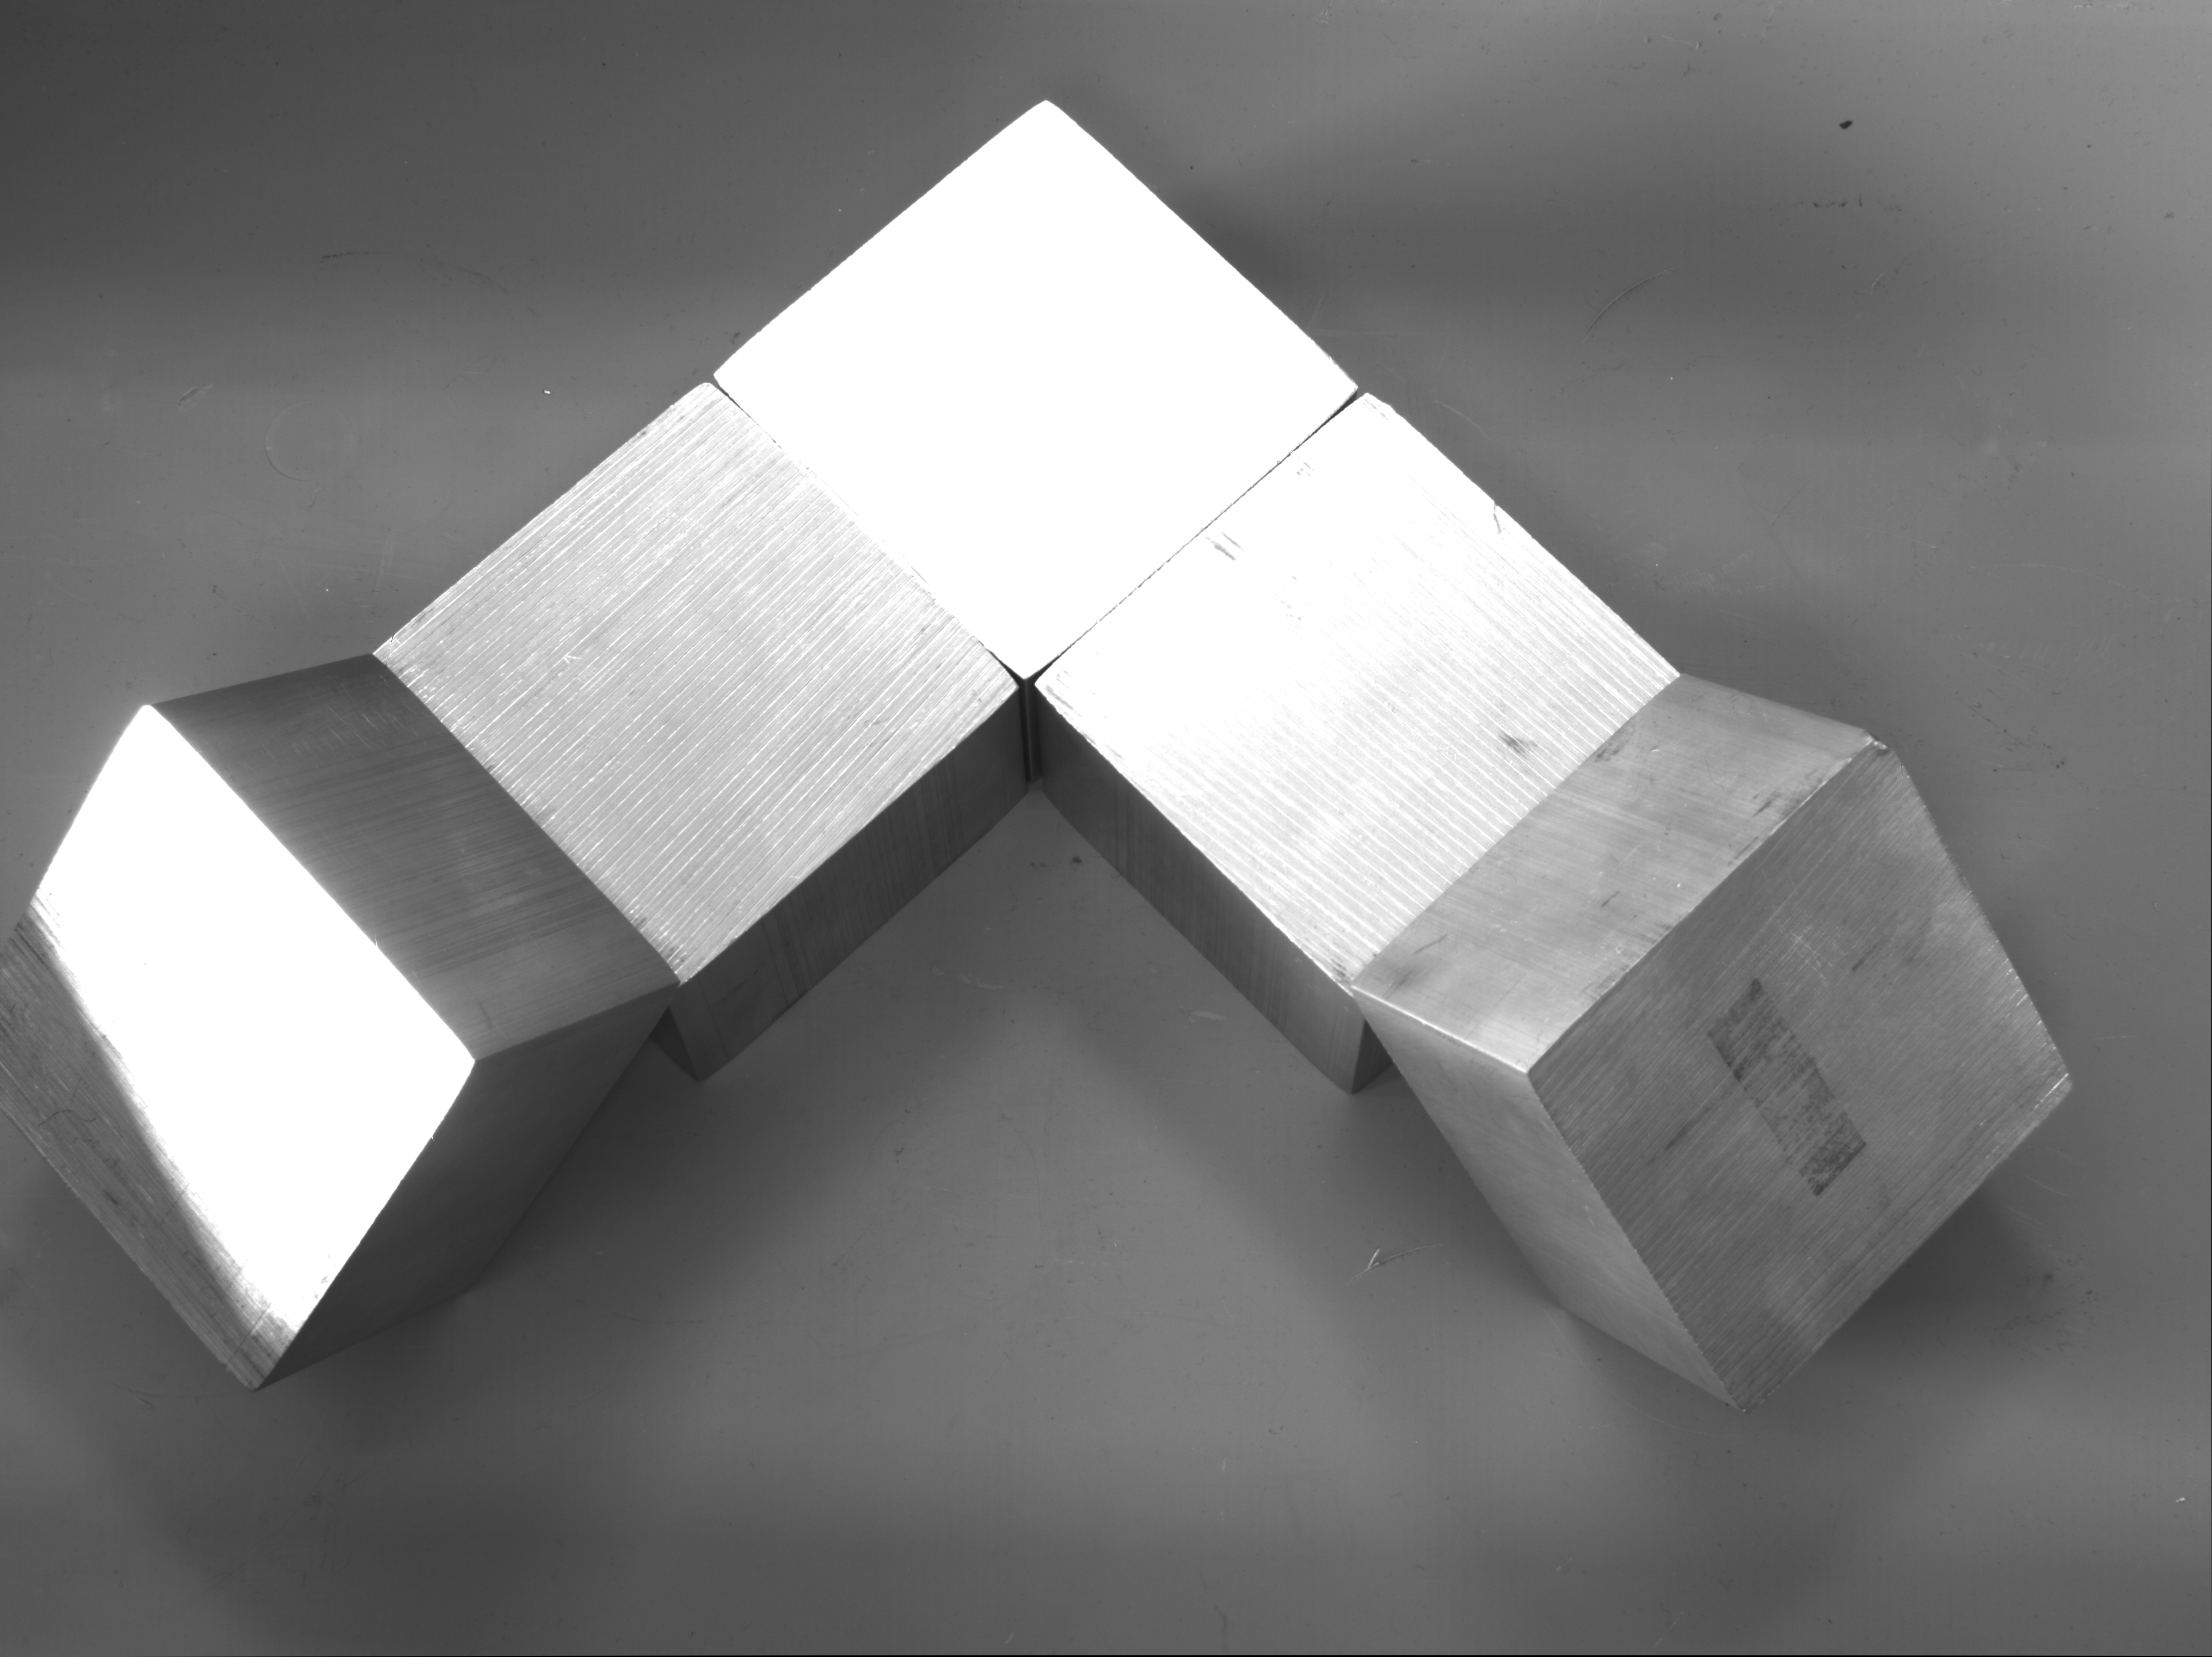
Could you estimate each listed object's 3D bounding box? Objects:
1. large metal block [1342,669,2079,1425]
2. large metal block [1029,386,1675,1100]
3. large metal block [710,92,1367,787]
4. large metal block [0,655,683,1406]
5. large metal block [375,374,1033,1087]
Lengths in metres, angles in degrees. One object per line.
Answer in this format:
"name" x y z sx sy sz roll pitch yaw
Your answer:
"large metal block" 0.099 0.034 0.595 0.080 0.050 0.080 -42 118 -14
"large metal block" 0.044 -0.014 0.635 0.080 0.050 0.080 -42 75 -14
"large metal block" -0.012 -0.069 0.655 0.080 0.050 0.080 -42 75 -14
"large metal block" -0.129 0.031 0.595 0.080 0.050 0.080 44 118 14
"large metal block" -0.070 -0.017 0.636 0.080 0.050 0.080 -42 75 -14
